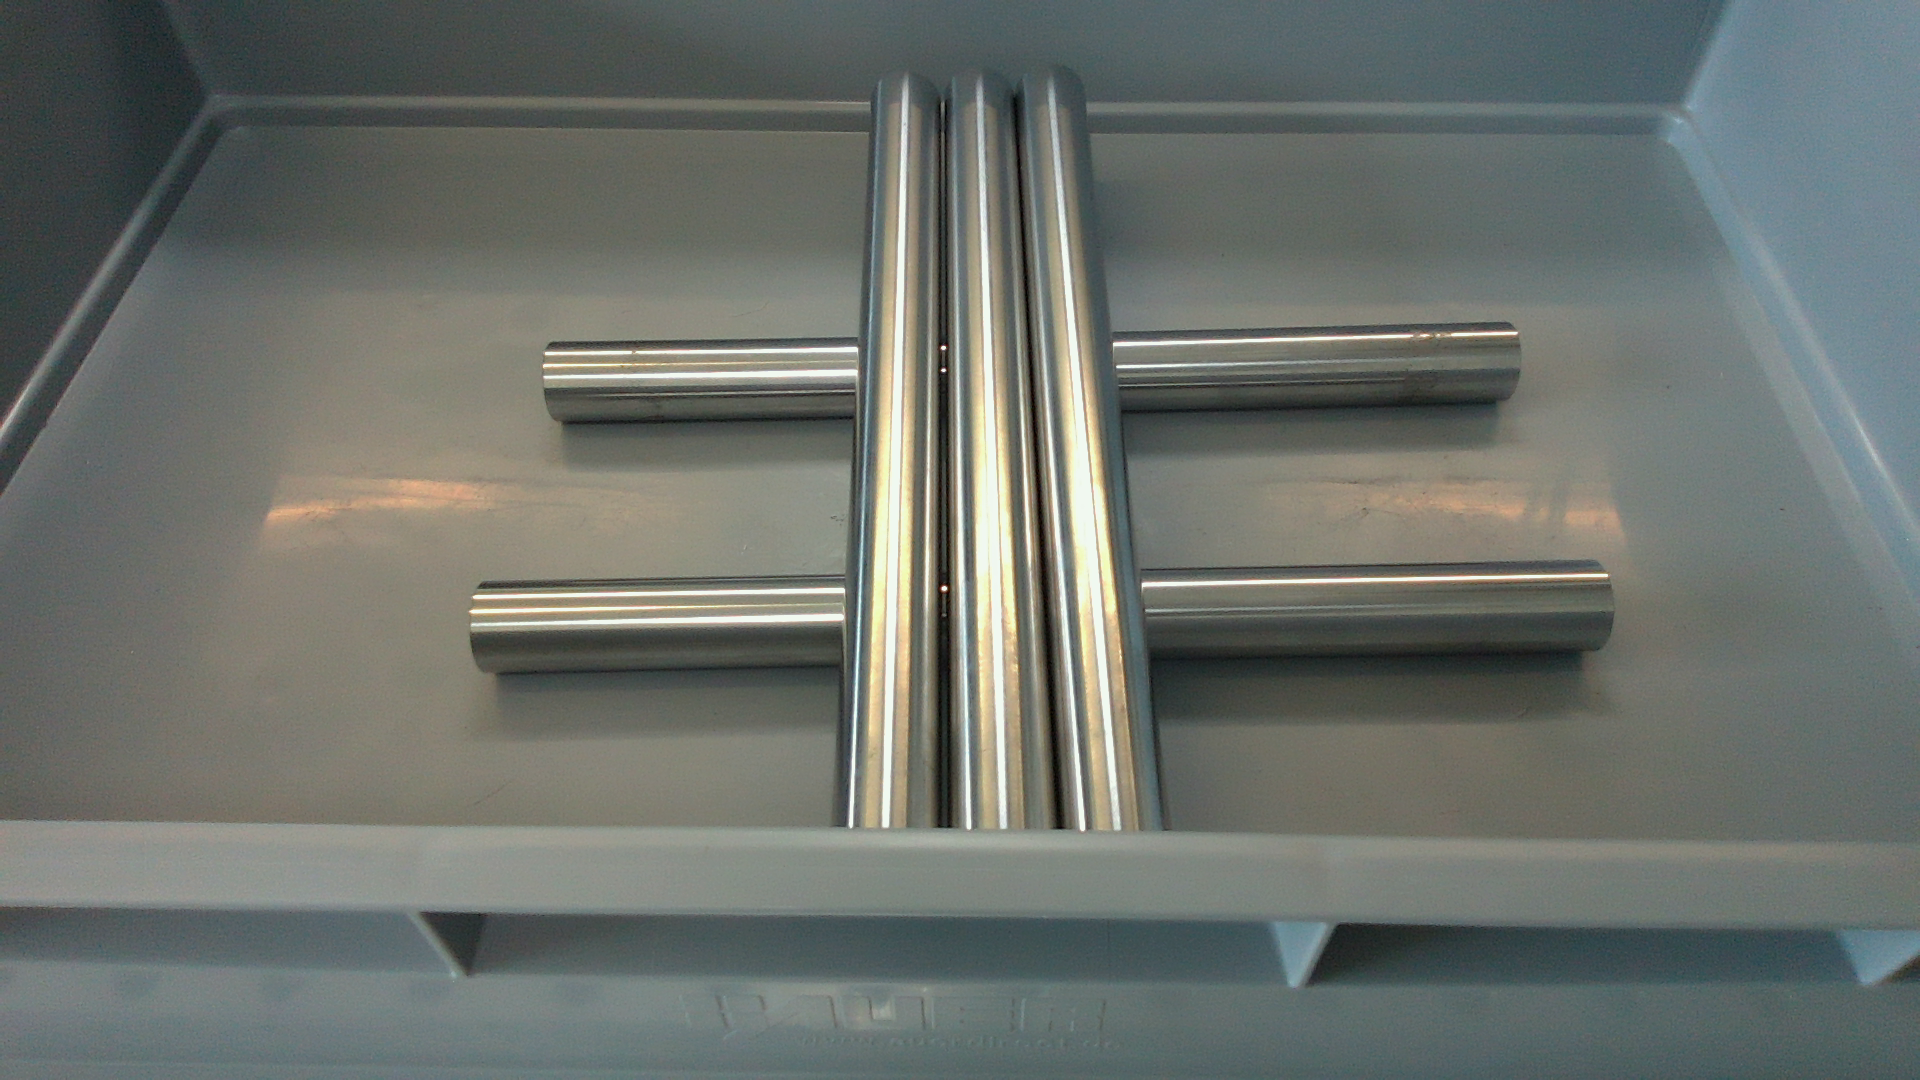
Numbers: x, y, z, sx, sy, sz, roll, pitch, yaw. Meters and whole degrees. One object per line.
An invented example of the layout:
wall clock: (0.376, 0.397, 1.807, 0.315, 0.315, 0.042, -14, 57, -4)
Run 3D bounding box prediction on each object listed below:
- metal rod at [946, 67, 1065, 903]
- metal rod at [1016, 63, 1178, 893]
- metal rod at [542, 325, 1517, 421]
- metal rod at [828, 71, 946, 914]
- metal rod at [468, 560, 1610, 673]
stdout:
metal rod: (0.008, -0.042, 0.392, 0.025, 0.025, 0.300, -1, 50, 0)
metal rod: (0.033, -0.044, 0.394, 0.025, 0.025, 0.300, -1, 50, 0)
metal rod: (0.022, -0.053, 0.435, 0.300, 0.025, 0.025, -1, 50, -1)
metal rod: (-0.017, -0.040, 0.390, 0.025, 0.025, 0.300, -1, 50, 0)
metal rod: (0.022, 0.021, 0.373, 0.300, 0.025, 0.025, -1, 50, -1)
